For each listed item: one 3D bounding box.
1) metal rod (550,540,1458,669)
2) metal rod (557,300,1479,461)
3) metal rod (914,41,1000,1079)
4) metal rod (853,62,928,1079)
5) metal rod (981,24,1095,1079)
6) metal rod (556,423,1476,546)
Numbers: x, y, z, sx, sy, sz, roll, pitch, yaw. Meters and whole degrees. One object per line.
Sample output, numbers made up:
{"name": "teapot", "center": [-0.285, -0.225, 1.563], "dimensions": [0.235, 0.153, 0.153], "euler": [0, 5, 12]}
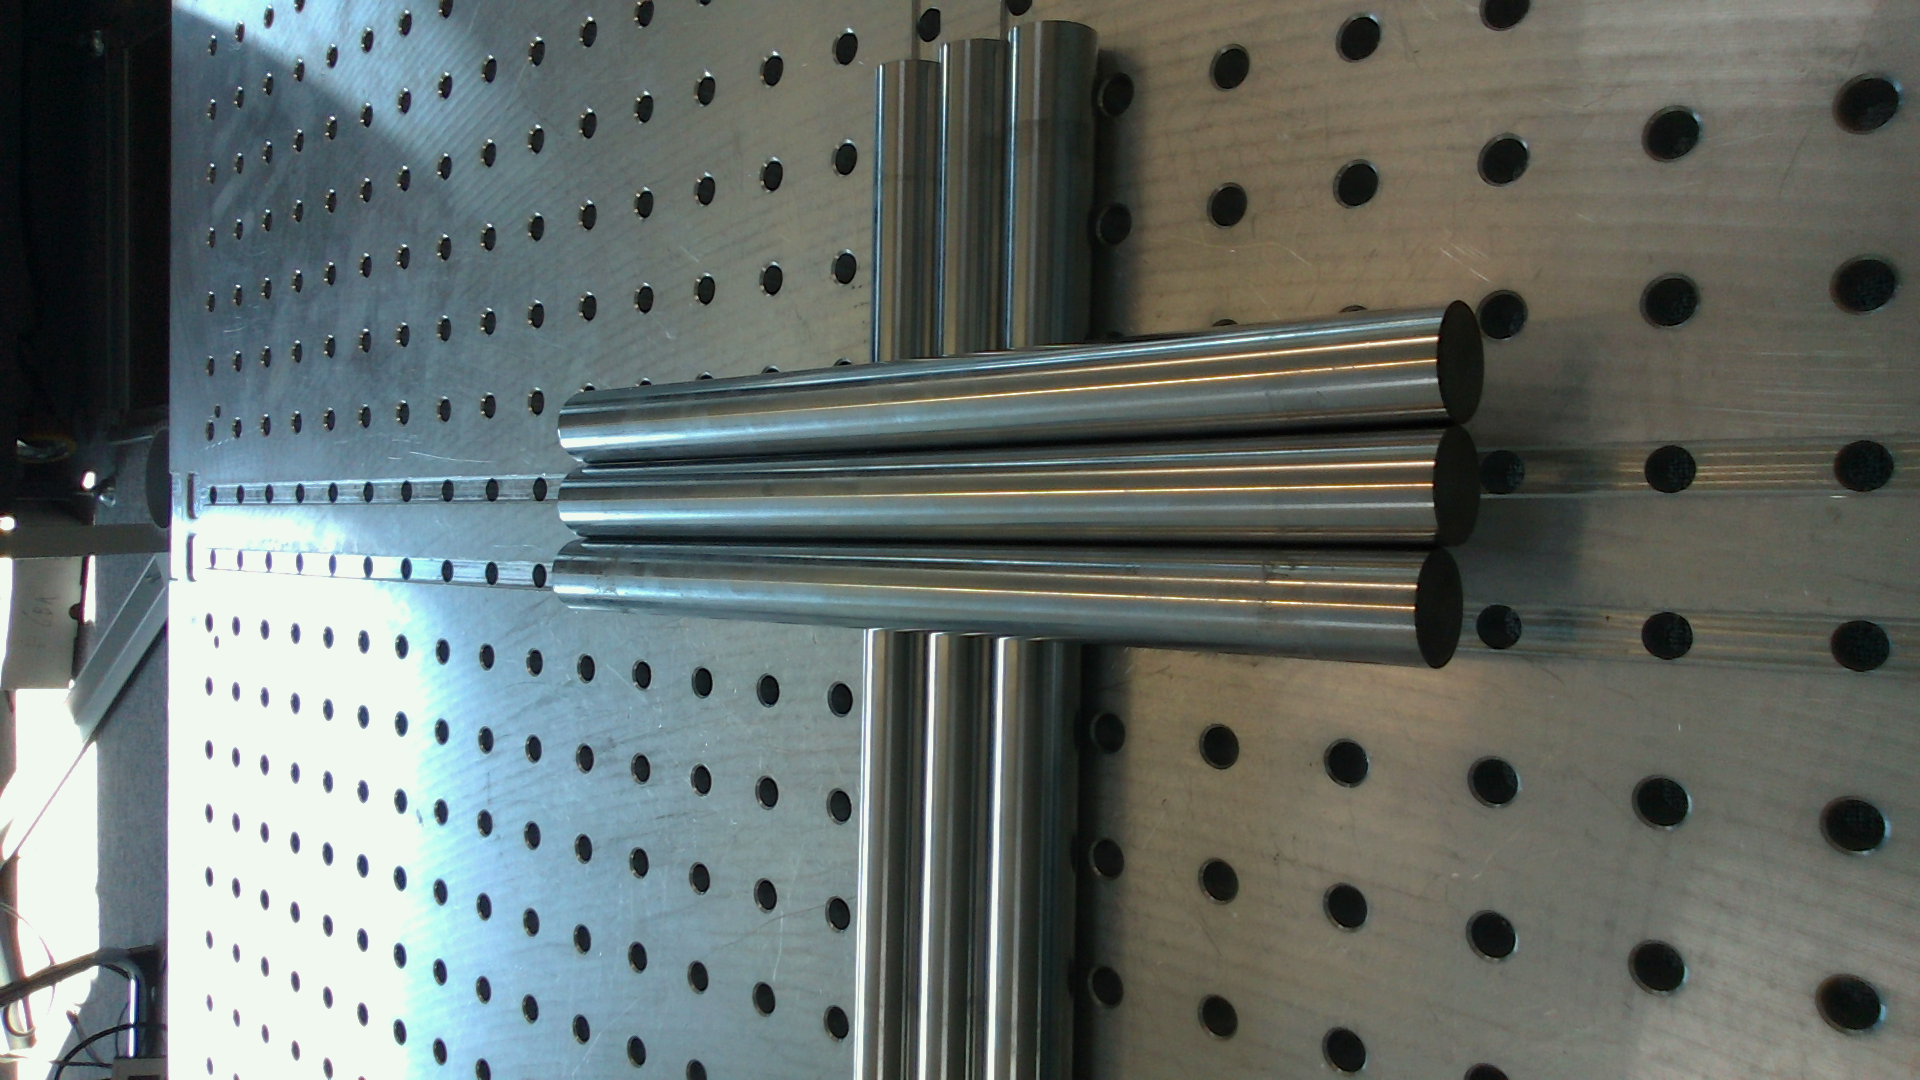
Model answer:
{"name": "metal rod", "center": [-0.016, 0.013, 0.379], "dimensions": [0.299, 0.025, 0.025], "euler": [1, 90, 40]}
{"name": "metal rod", "center": [-0.013, -0.037, 0.376], "dimensions": [0.299, 0.025, 0.025], "euler": [1, 90, 40]}
{"name": "metal rod", "center": [0.002, 0.012, 0.396], "dimensions": [0.025, 0.025, 0.300], "euler": [2, 92, 40]}
{"name": "metal rod", "center": [-0.017, 0.012, 0.412], "dimensions": [0.025, 0.025, 0.300], "euler": [2, 92, 40]}
{"name": "metal rod", "center": [0.021, 0.013, 0.380], "dimensions": [0.025, 0.025, 0.300], "euler": [2, 92, 40]}
{"name": "metal rod", "center": [-0.014, -0.012, 0.377], "dimensions": [0.299, 0.025, 0.025], "euler": [1, 90, 40]}
